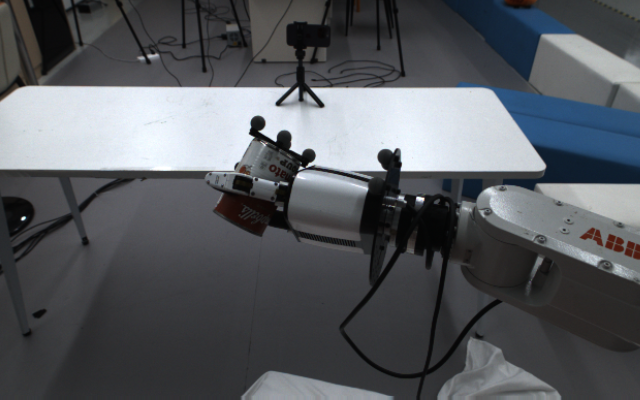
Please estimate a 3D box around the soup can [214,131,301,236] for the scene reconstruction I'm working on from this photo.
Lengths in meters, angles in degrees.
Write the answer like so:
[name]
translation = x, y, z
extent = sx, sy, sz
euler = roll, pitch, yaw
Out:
[soup can]
translation = -0.075, -0.014, 0.583
extent = 0.067, 0.101, 0.067
euler = 28, -3, 1
